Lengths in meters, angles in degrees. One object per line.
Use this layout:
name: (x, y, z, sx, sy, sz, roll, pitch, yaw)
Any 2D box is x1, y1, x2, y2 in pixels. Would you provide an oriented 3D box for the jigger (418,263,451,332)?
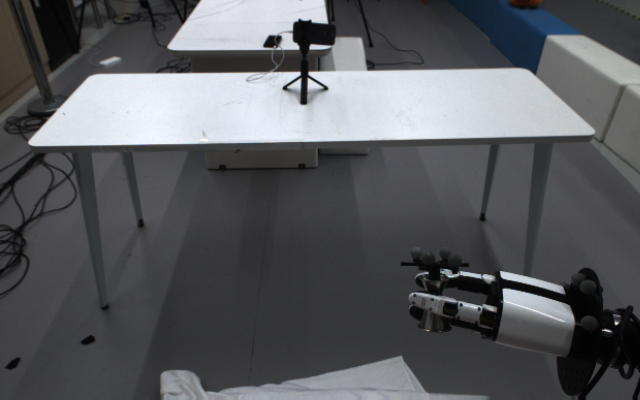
jigger: (0.153, 0.135, 0.648, 0.043, 0.071, 0.043, -1, 2, 0)
